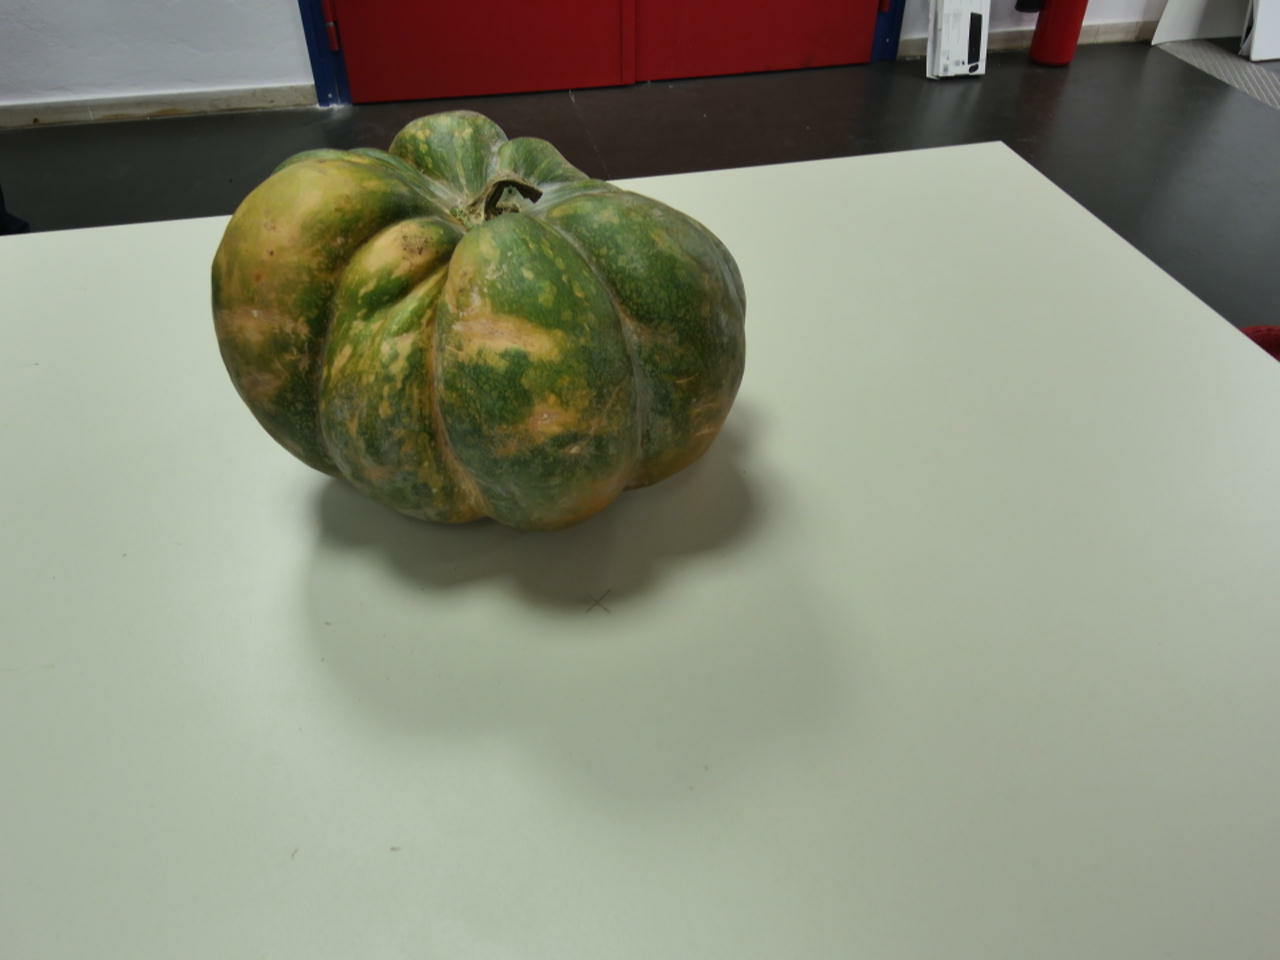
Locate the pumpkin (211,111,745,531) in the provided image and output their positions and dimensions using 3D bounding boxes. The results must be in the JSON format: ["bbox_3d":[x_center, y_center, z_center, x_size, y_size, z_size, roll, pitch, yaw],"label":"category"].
[{"bbox_3d":[-0.075,-0.086,0.502,0.270,0.173,0.237,16,42,19],"label":"pumpkin"}]
